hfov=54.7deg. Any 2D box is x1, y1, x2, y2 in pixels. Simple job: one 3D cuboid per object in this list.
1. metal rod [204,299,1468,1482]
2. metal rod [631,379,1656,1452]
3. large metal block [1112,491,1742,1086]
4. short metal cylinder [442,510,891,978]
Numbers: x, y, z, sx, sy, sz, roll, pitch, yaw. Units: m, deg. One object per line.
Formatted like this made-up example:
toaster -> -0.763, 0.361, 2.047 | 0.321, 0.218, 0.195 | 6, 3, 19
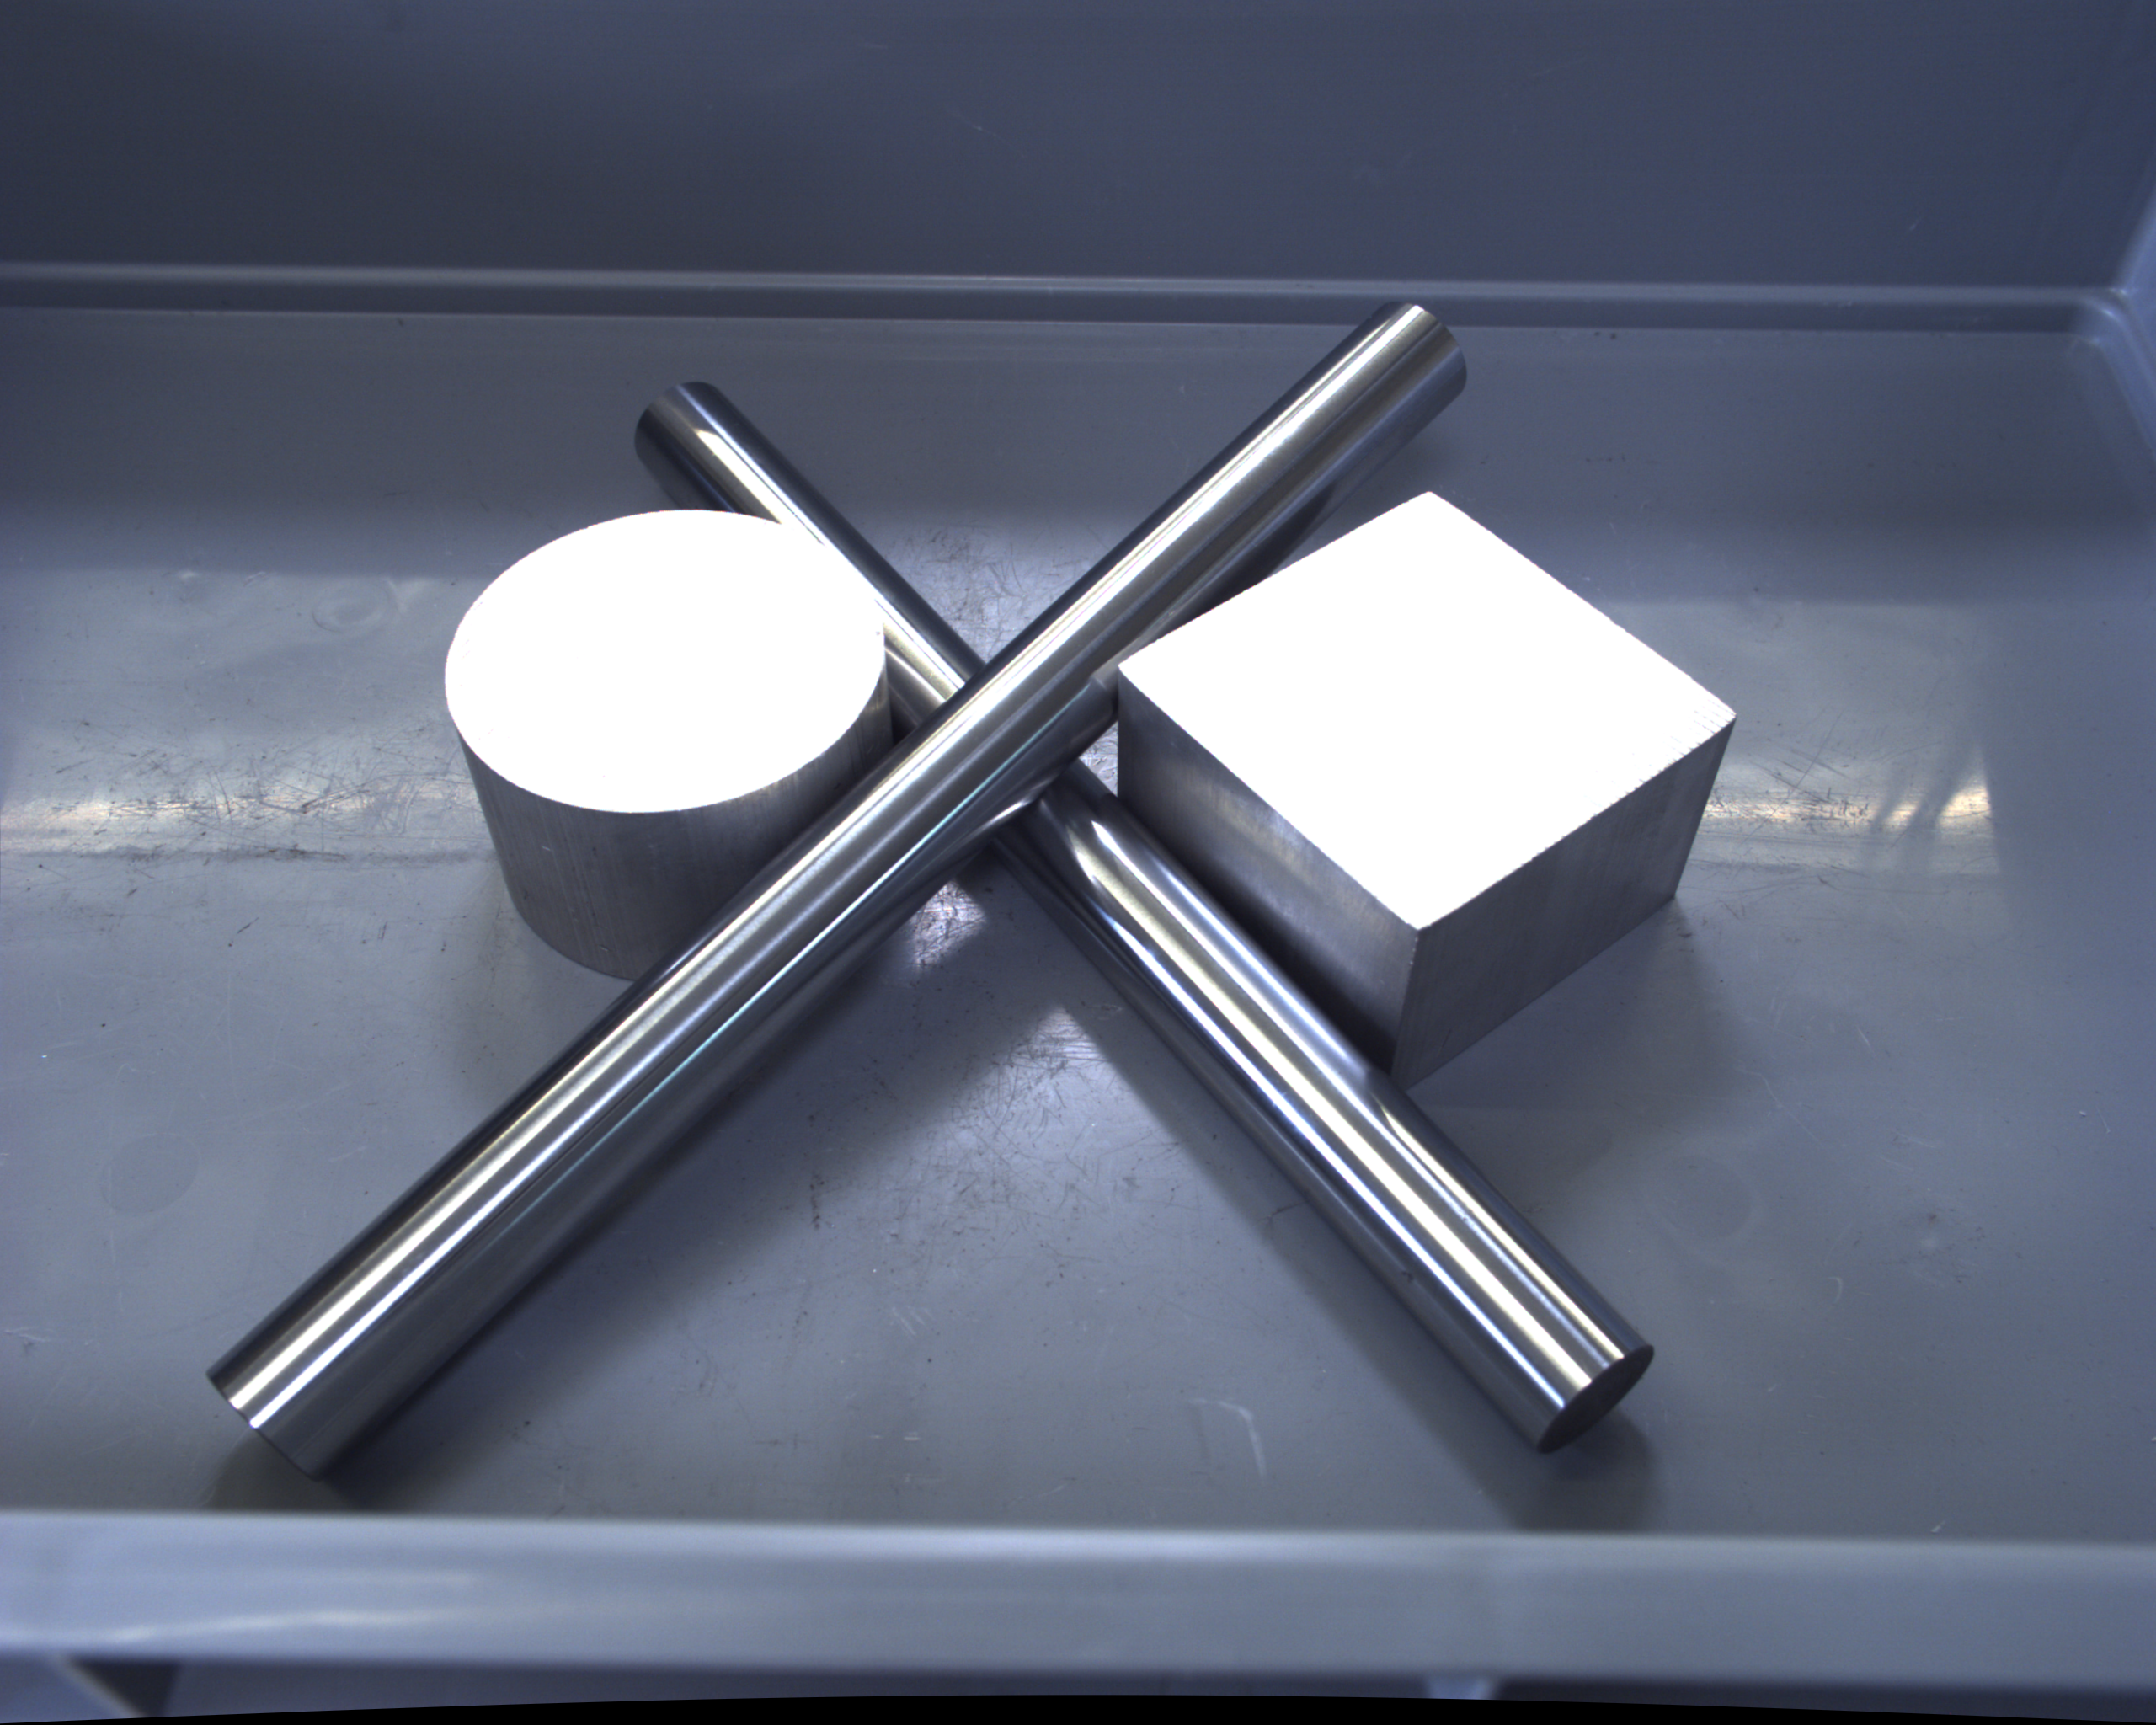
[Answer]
metal rod -> -0.029, -0.009, 0.383 | 0.025, 0.025, 0.301 | 35, 66, 25
metal rod -> -0.005, -0.008, 0.409 | 0.025, 0.025, 0.300 | -29, 56, -22
large metal block -> 0.063, -0.015, 0.399 | 0.081, 0.050, 0.080 | -31, 57, -24
short metal cylinder -> -0.077, -0.023, 0.405 | 0.081, 0.050, 0.080 | 0, 50, 0
